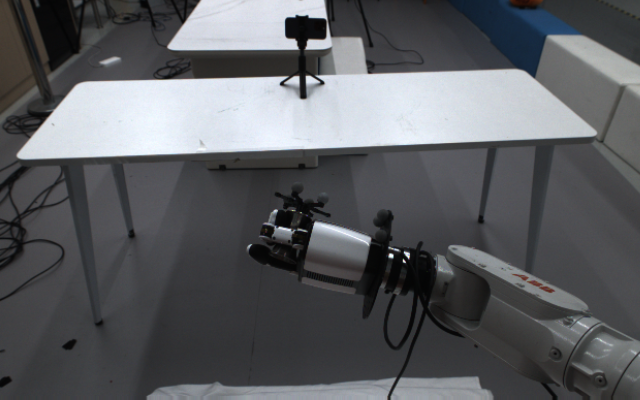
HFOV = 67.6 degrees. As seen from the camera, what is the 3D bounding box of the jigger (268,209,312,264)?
[{"bbox_3d":[-0.041,0.051,0.696,0.043,0.043,0.071,15,70,18],"label":"jigger"}]
